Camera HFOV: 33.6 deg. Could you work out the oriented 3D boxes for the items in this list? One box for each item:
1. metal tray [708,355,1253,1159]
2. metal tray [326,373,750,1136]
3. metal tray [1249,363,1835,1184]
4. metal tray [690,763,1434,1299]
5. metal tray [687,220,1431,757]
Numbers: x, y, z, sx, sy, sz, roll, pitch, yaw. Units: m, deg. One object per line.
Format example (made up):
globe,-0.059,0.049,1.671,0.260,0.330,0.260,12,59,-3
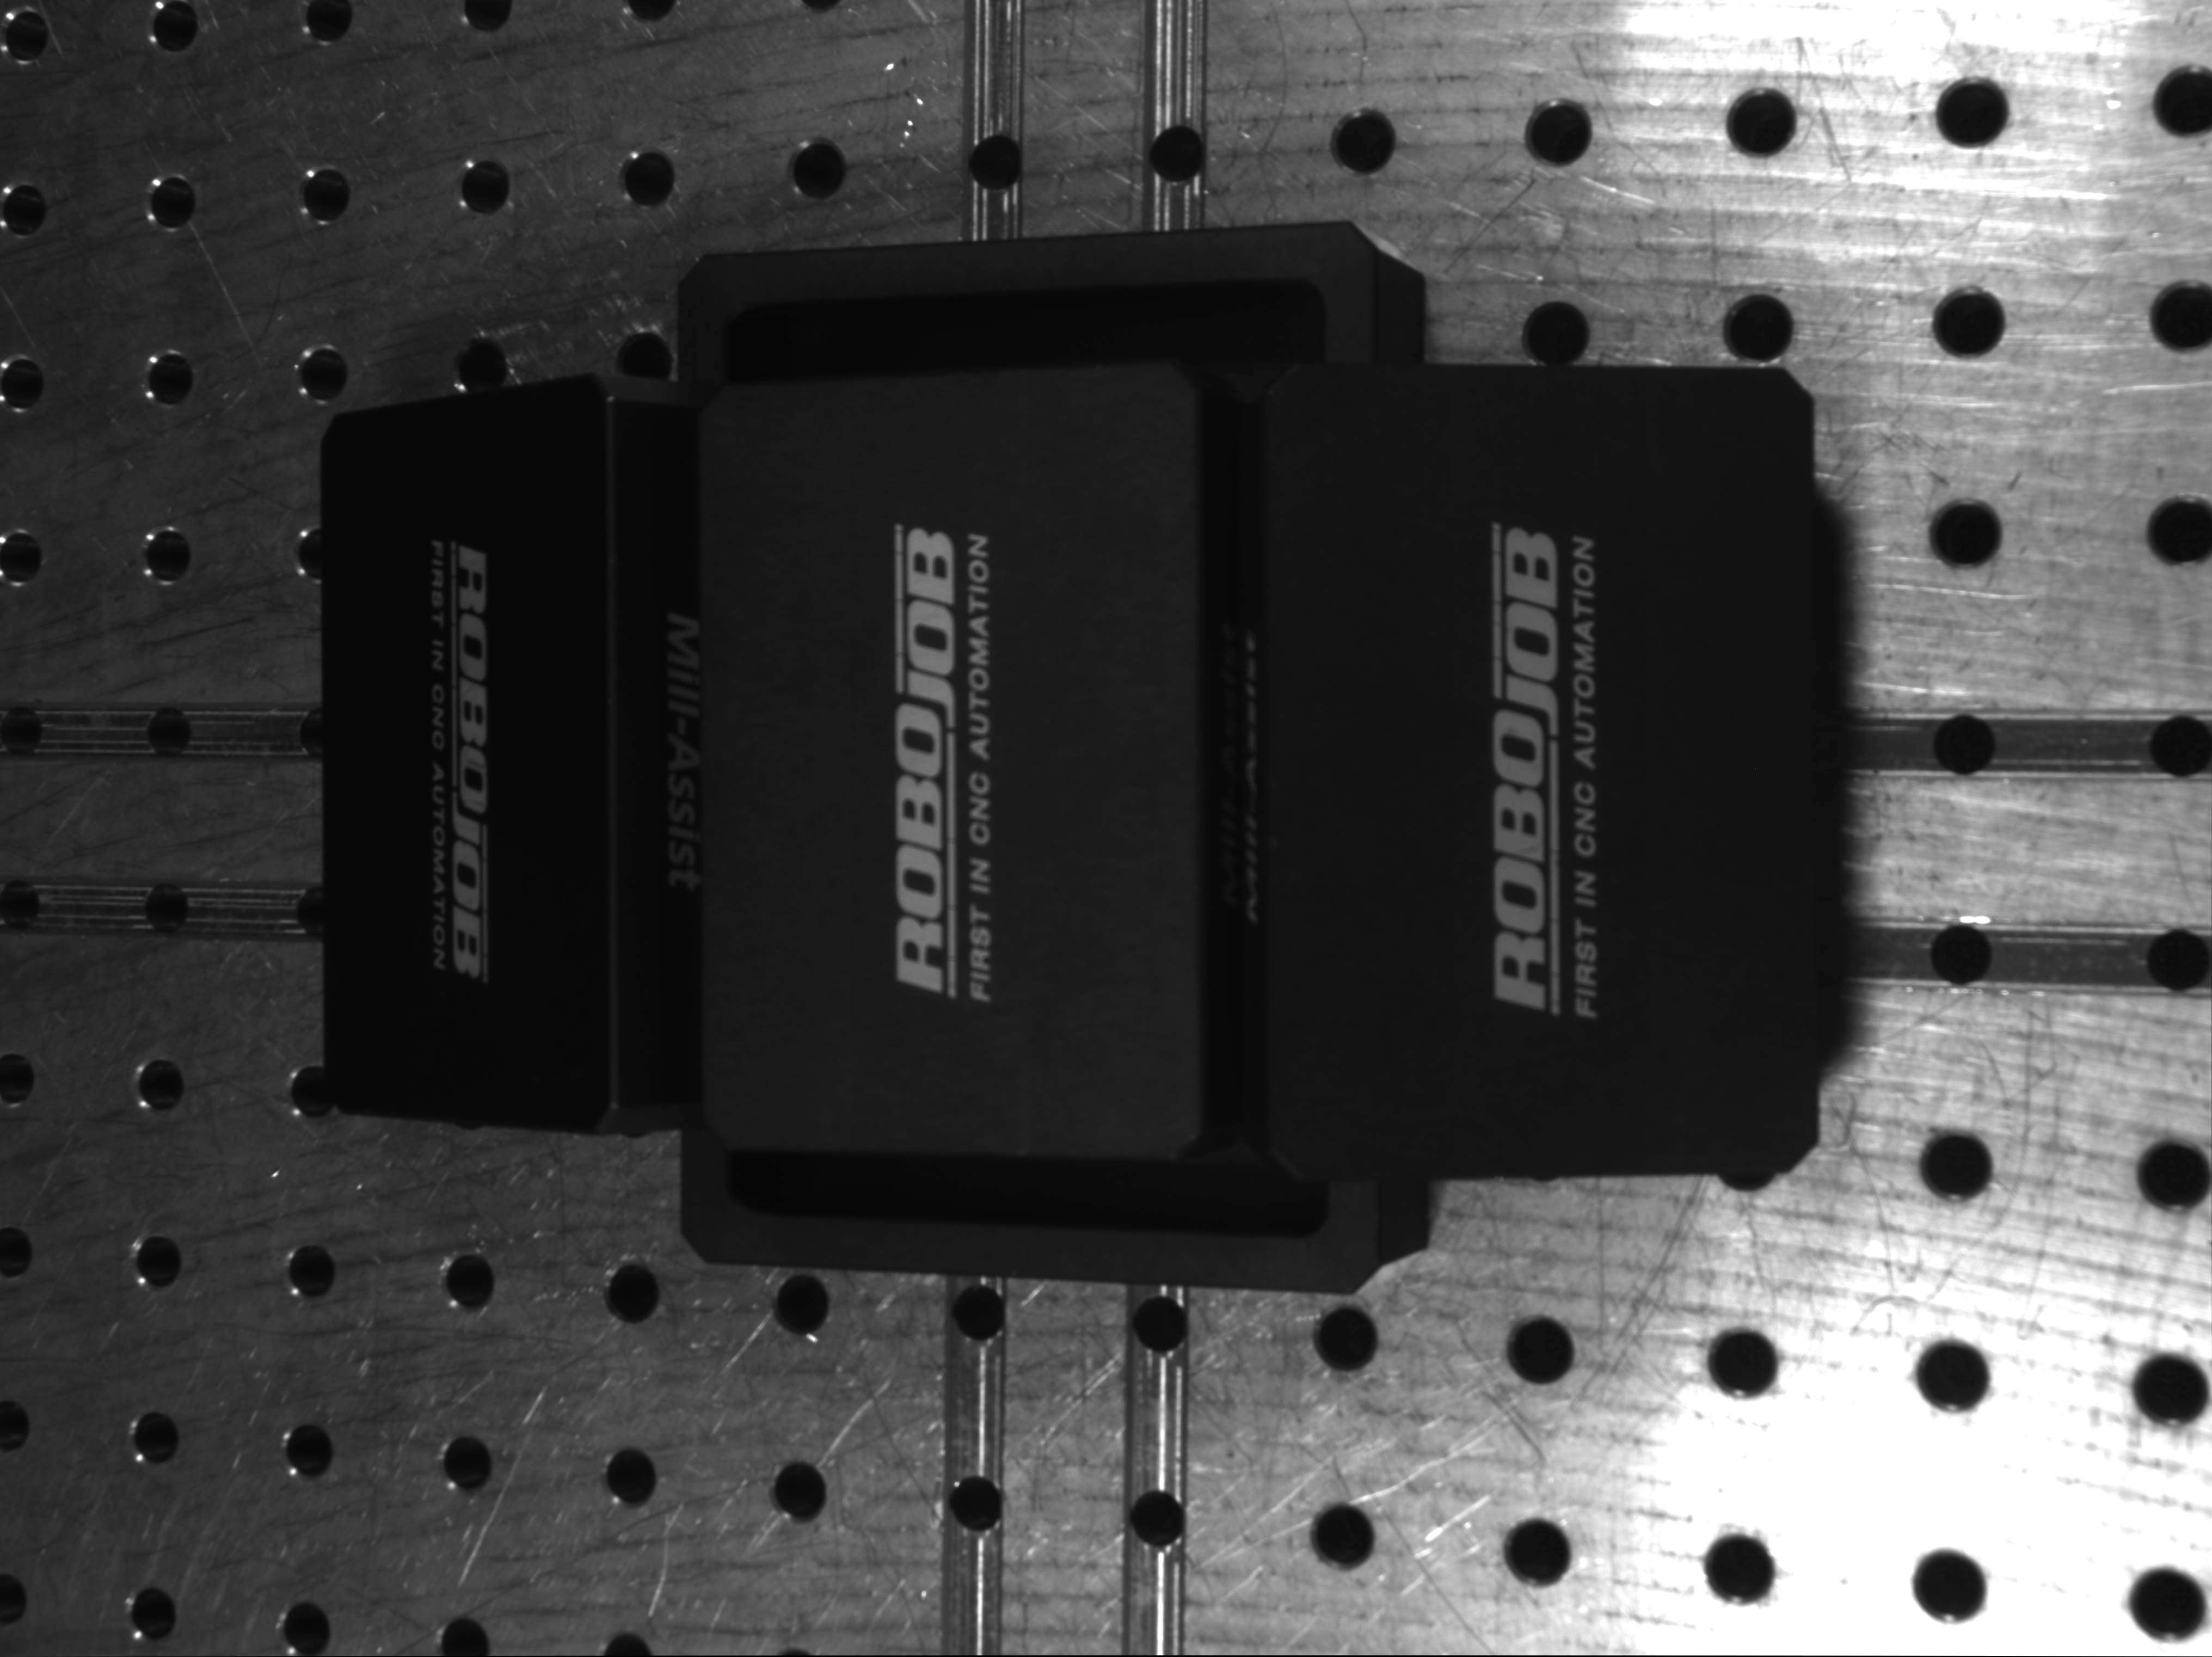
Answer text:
metal tray,-0.020,-0.011,0.619,0.090,0.030,0.130,0,90,20
metal tray,-0.104,-0.013,0.662,0.090,0.030,0.130,0,90,46
metal tray,0.071,-0.009,0.599,0.090,0.030,0.130,-1,90,-8
metal tray,-0.009,0.034,0.648,0.130,0.030,0.090,0,90,20
metal tray,-0.009,-0.057,0.647,0.130,0.030,0.090,0,90,20
